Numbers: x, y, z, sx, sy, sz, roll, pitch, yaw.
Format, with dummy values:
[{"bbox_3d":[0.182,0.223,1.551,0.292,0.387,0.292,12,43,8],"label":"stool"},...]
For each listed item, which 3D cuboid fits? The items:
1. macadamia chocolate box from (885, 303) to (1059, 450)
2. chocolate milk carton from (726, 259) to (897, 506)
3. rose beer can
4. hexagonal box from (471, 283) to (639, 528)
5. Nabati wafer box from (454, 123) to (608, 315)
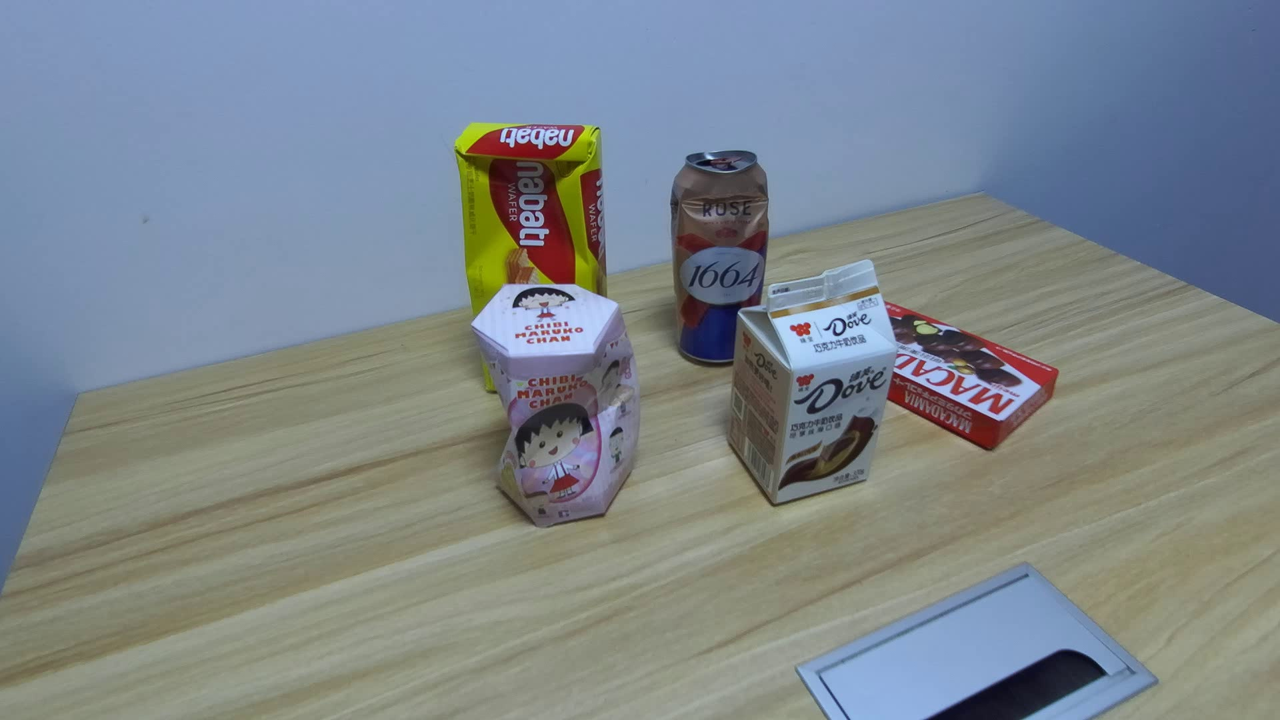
[{"bbox_3d":[0.223,-0.002,0.570,0.103,0.027,0.186,-26,42,-33],"label":"macadamia chocolate box"},{"bbox_3d":[0.107,0.008,0.449,0.075,0.148,0.074,-11,36,-16],"label":"chocolate milk carton"},{"bbox_3d":[0.064,-0.079,0.560,0.075,0.167,0.065,2,31,12],"label":"rose beer can"},{"bbox_3d":[-0.056,0.029,0.442,0.093,0.135,0.089,27,44,36],"label":"hexagonal box"},{"bbox_3d":[-0.074,-0.065,0.518,0.096,0.203,0.042,5,33,7],"label":"Nabati wafer box"}]
